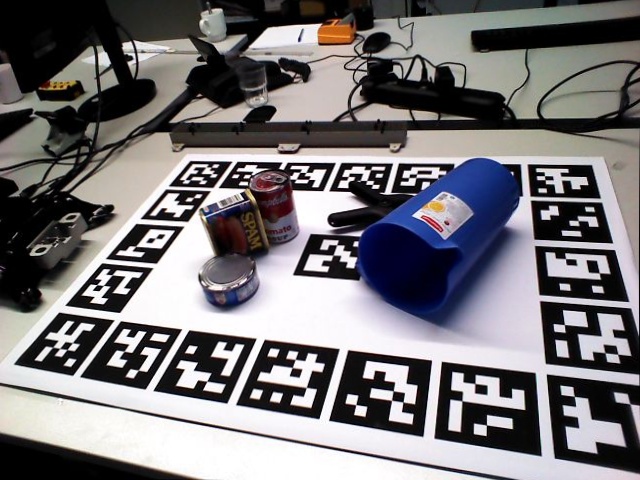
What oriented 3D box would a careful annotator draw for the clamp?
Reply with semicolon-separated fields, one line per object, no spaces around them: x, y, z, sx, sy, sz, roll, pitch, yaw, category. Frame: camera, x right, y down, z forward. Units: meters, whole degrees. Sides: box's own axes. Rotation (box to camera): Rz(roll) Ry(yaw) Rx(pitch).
0.119;-0.035;0.861;0.166;0.037;0.121;6;36;16;clamp

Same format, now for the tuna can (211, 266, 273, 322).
-0.112;0.079;0.757;0.086;0.034;0.085;-7;39;6;tuna can

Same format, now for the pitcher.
0.190;-0.009;0.709;0.190;0.133;0.241;-4;24;46;pitcher

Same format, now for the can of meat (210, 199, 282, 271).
-0.115;-0.001;0.800;0.083;0.102;0.058;-23;40;-9;can of meat

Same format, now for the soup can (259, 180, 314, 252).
-0.052;-0.037;0.840;0.068;0.102;0.067;-9;38;7;soup can
